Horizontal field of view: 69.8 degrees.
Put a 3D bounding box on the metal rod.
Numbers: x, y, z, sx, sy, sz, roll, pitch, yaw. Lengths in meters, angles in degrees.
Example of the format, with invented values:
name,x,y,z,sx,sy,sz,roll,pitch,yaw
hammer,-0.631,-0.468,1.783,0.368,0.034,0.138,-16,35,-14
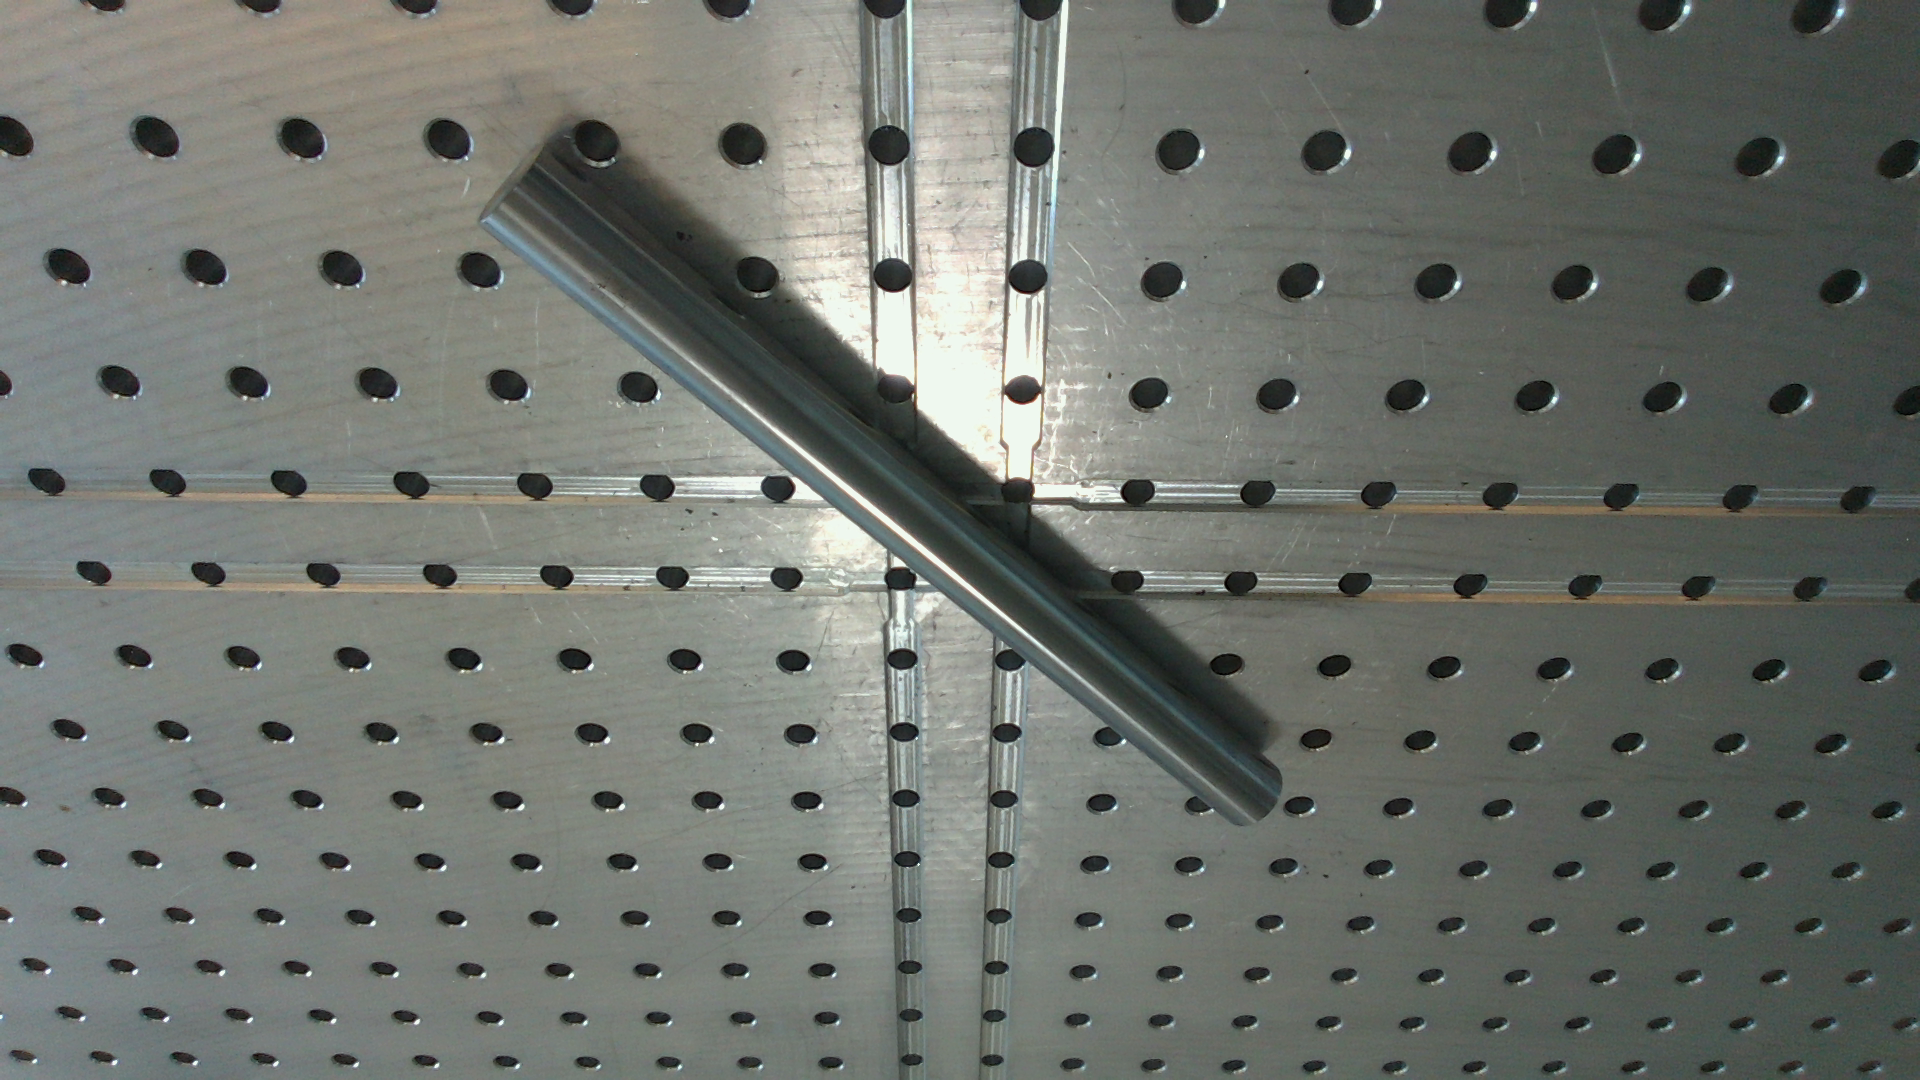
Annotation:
name,x,y,z,sx,sy,sz,roll,pitch,yaw
metal rod,-0.005,0.000,0.394,0.025,0.025,0.301,-35,122,26
